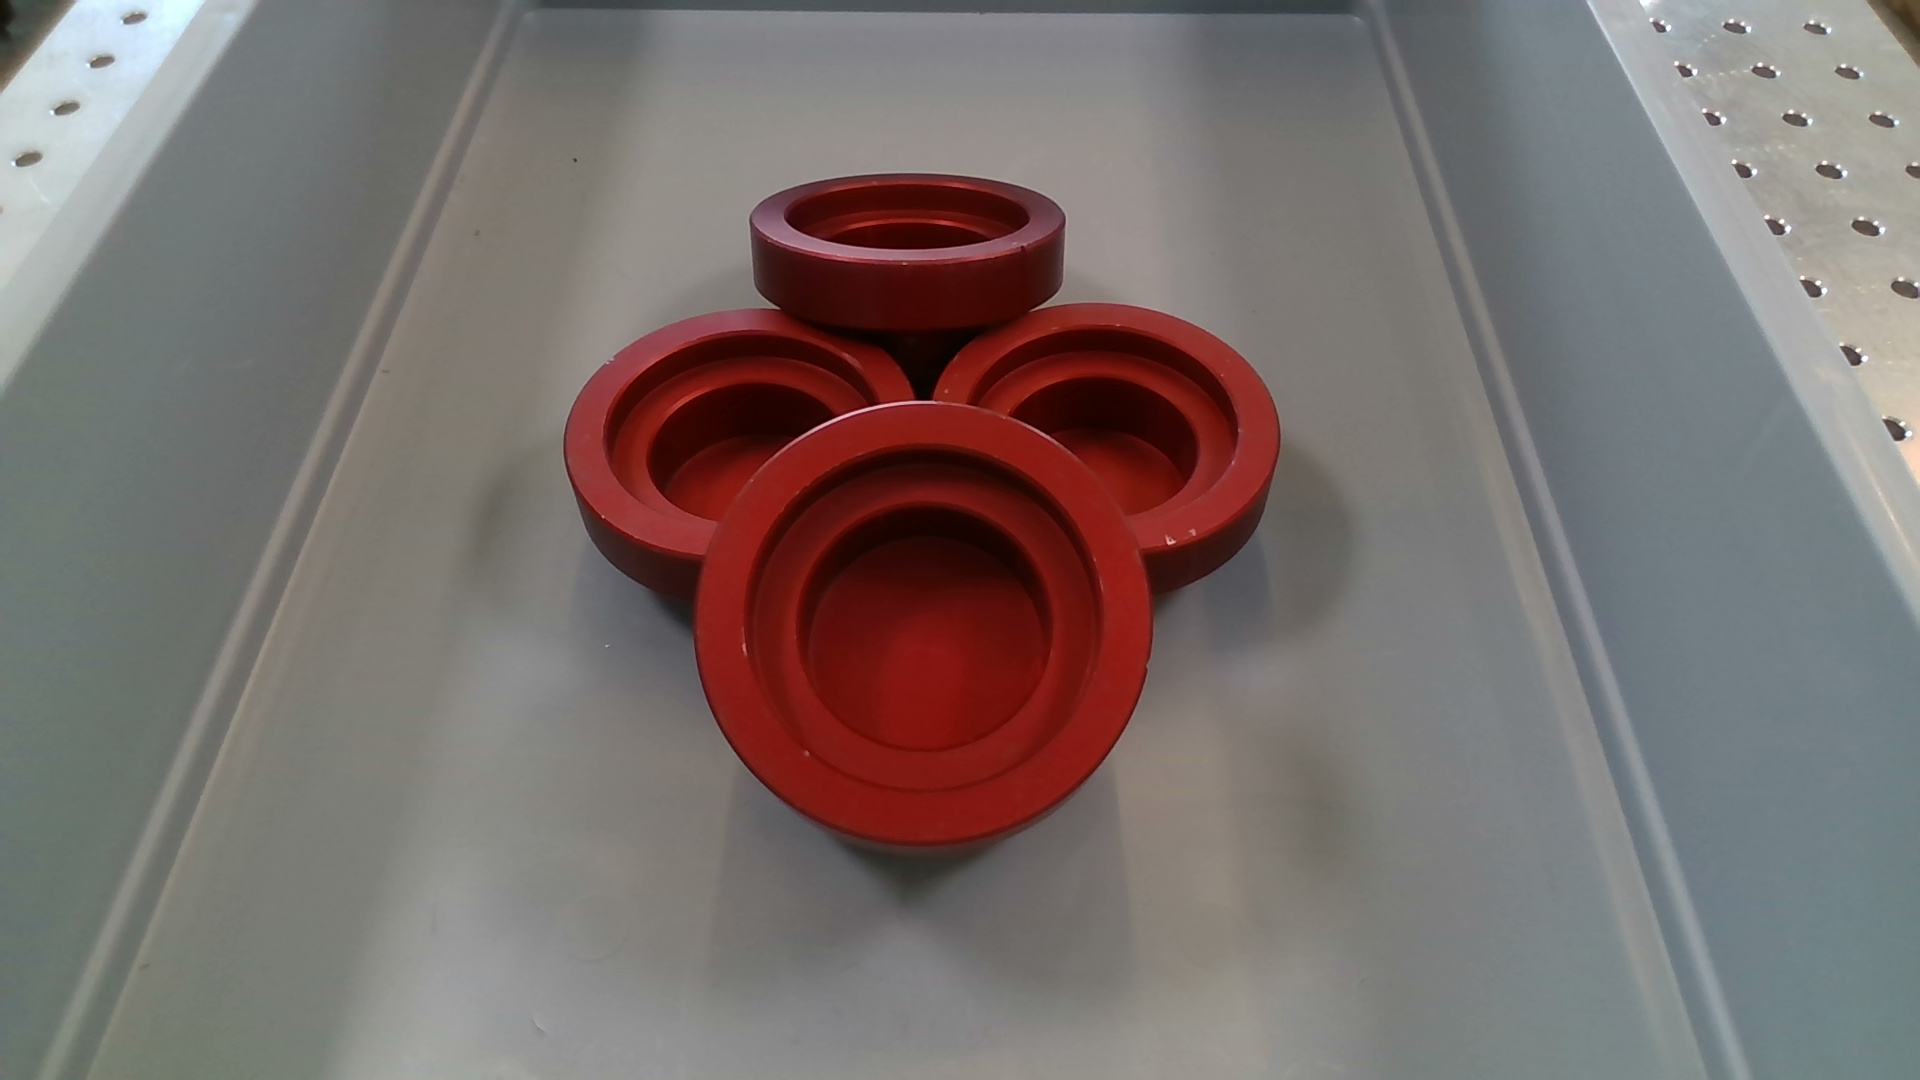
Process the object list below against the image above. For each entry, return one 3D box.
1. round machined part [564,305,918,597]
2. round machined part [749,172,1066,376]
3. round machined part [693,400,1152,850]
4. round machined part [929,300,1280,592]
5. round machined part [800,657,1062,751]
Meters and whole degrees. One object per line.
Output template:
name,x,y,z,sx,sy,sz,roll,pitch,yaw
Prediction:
round machined part,-0.060,-0.020,0.397,0.098,0.042,0.098,0,50,0
round machined part,-0.016,-0.084,0.438,0.098,0.042,0.098,0,29,0
round machined part,-0.008,0.021,0.313,0.098,0.042,0.098,0,72,0
round machined part,0.040,-0.022,0.399,0.098,0.042,0.098,0,50,0
round machined part,-0.009,0.028,0.344,0.098,0.042,0.098,0,72,-1
